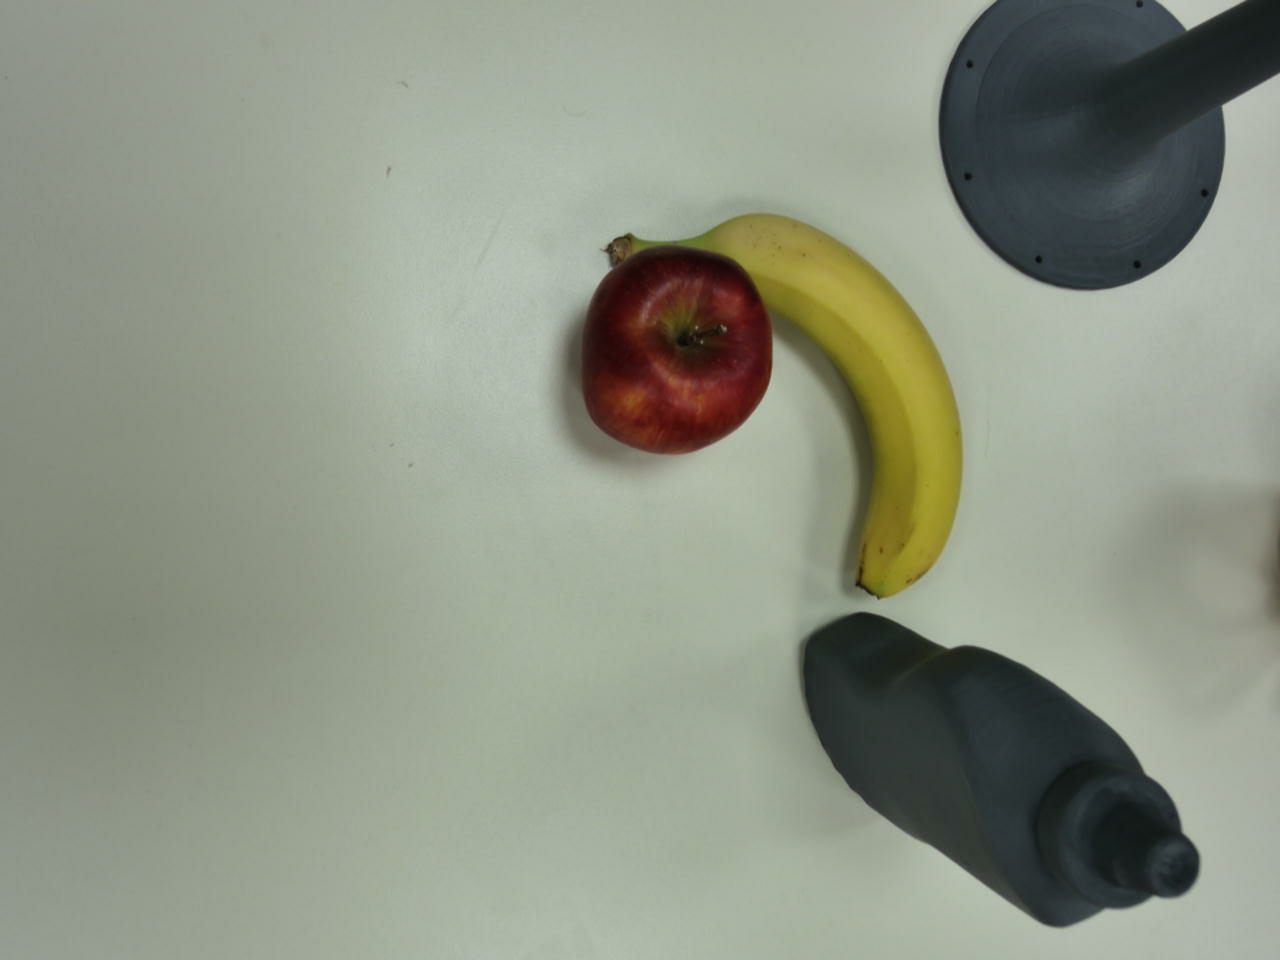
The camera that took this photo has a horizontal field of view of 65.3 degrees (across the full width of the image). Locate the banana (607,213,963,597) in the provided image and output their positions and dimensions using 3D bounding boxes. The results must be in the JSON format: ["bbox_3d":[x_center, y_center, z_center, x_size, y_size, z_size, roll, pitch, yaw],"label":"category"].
[{"bbox_3d":[0.081,-0.050,0.437,0.094,0.041,0.196,-37,97,-9],"label":"banana"}]
